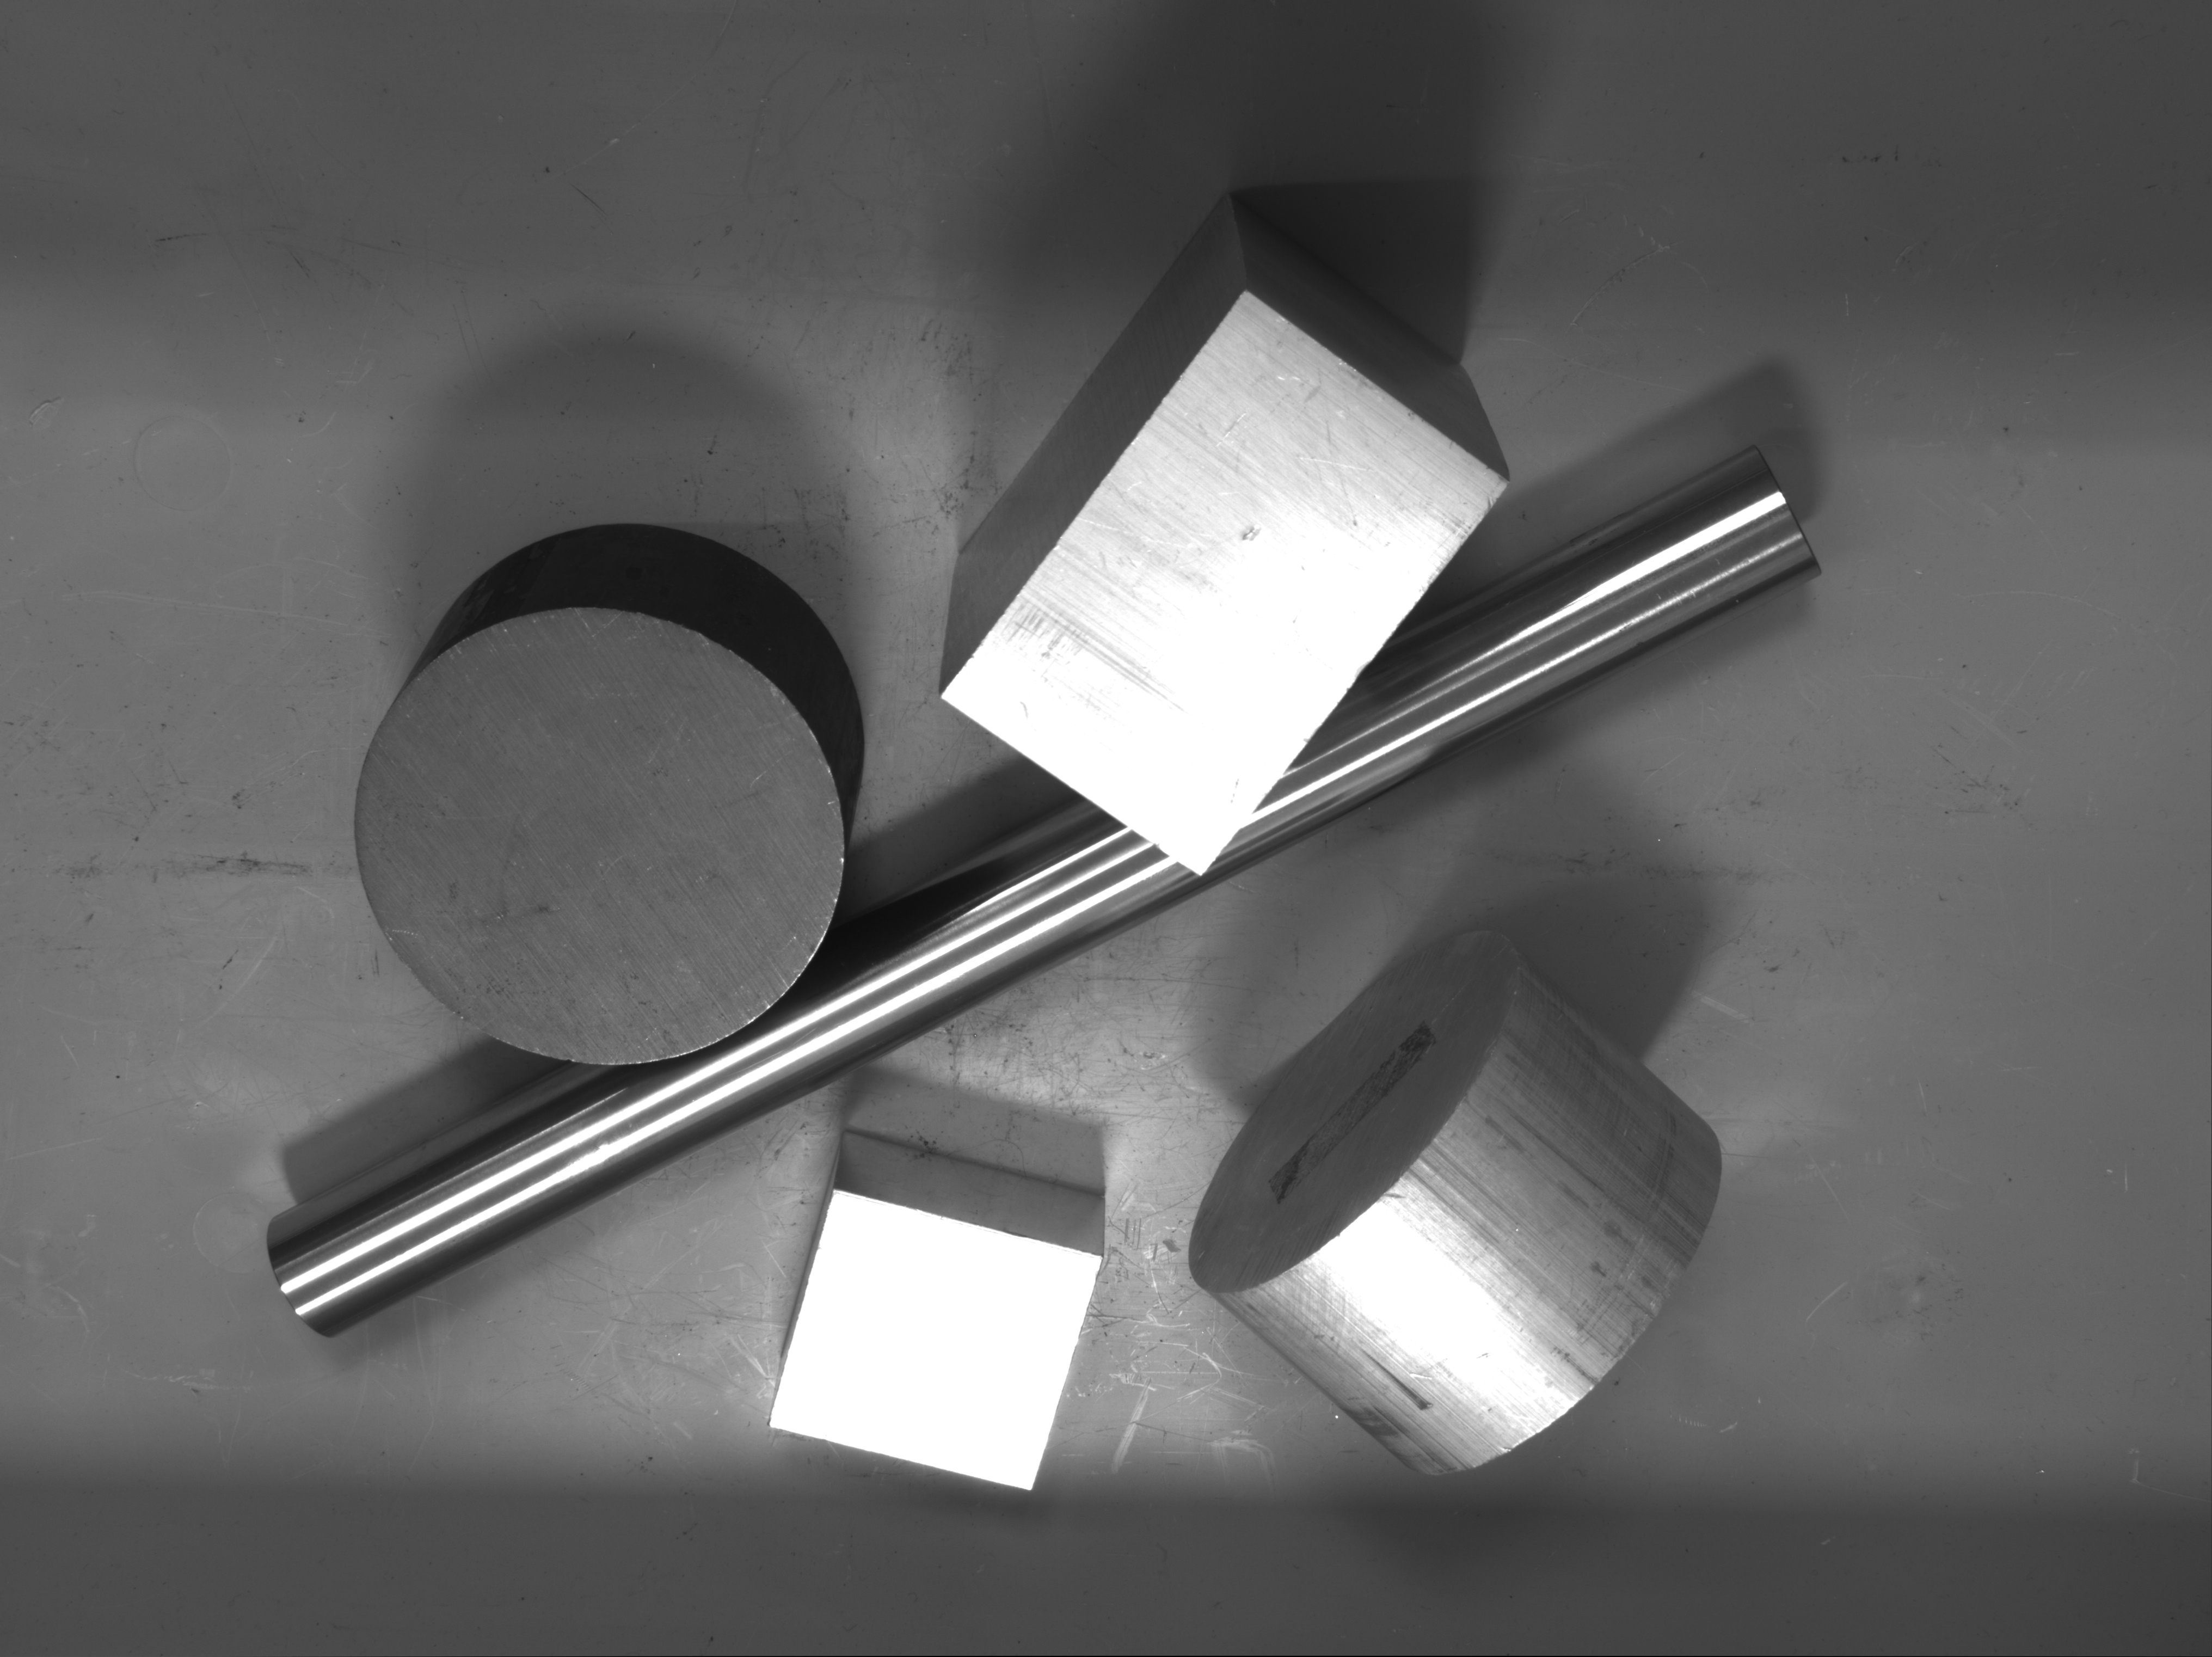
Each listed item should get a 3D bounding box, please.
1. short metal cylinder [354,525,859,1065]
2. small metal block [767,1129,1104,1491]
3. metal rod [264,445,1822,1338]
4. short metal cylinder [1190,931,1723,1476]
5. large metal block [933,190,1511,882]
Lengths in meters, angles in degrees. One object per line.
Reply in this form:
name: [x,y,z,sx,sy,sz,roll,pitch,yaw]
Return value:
short metal cylinder: [-0.083,-0.006,0.627,0.080,0.050,0.080,0,110,0]
small metal block: [-0.031,0.088,0.675,0.050,0.025,0.050,14,109,-5]
metal rod: [-0.016,0.014,0.648,0.300,0.025,0.025,-27,108,9]
short metal cylinder: [0.060,0.065,0.637,0.050,0.080,0.080,41,105,-14]
large metal block: [0.017,-0.049,0.596,0.050,0.080,0.080,35,106,-11]
